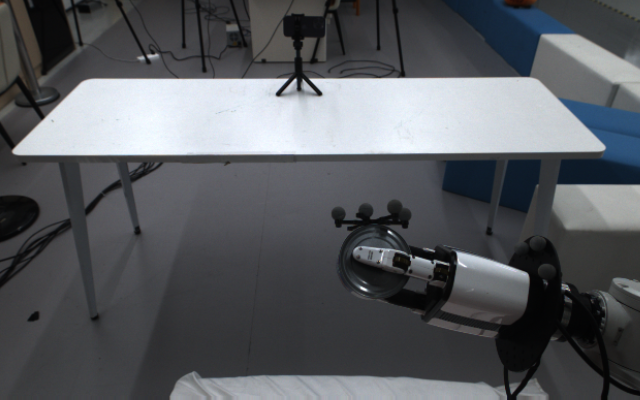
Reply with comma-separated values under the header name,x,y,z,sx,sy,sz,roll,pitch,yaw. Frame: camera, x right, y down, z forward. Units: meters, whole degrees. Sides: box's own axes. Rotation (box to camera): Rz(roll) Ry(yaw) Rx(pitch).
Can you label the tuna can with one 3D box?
name,x,y,z,sx,sy,sz,roll,pitch,yaw
tuna can,0.064,0.071,0.562,0.085,0.034,0.085,1,70,-4
